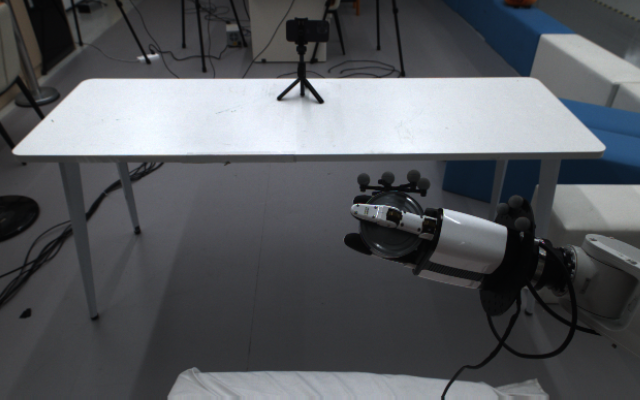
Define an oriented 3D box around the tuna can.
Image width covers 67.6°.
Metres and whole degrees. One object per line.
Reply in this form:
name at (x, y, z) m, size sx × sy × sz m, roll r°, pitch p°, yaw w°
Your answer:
tuna can at (0.095, 0.032, 0.631) m, size 0.085 × 0.034 × 0.085 m, roll 0°, pitch 75°, yaw 1°
